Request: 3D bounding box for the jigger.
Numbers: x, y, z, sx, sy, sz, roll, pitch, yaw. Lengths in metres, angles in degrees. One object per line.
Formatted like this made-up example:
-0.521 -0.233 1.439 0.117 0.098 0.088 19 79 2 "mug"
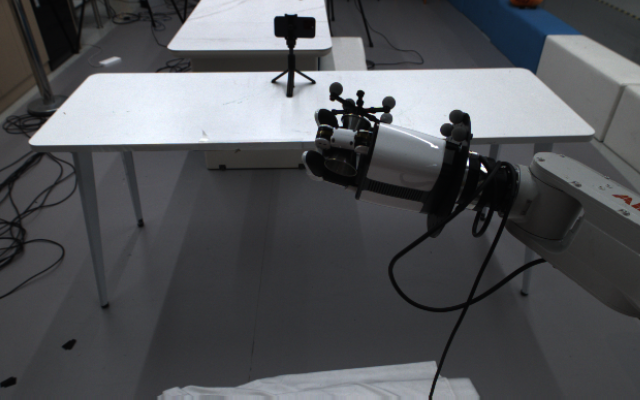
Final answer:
0.039 -0.069 0.615 0.043 0.043 0.071 12 71 14 "jigger"
